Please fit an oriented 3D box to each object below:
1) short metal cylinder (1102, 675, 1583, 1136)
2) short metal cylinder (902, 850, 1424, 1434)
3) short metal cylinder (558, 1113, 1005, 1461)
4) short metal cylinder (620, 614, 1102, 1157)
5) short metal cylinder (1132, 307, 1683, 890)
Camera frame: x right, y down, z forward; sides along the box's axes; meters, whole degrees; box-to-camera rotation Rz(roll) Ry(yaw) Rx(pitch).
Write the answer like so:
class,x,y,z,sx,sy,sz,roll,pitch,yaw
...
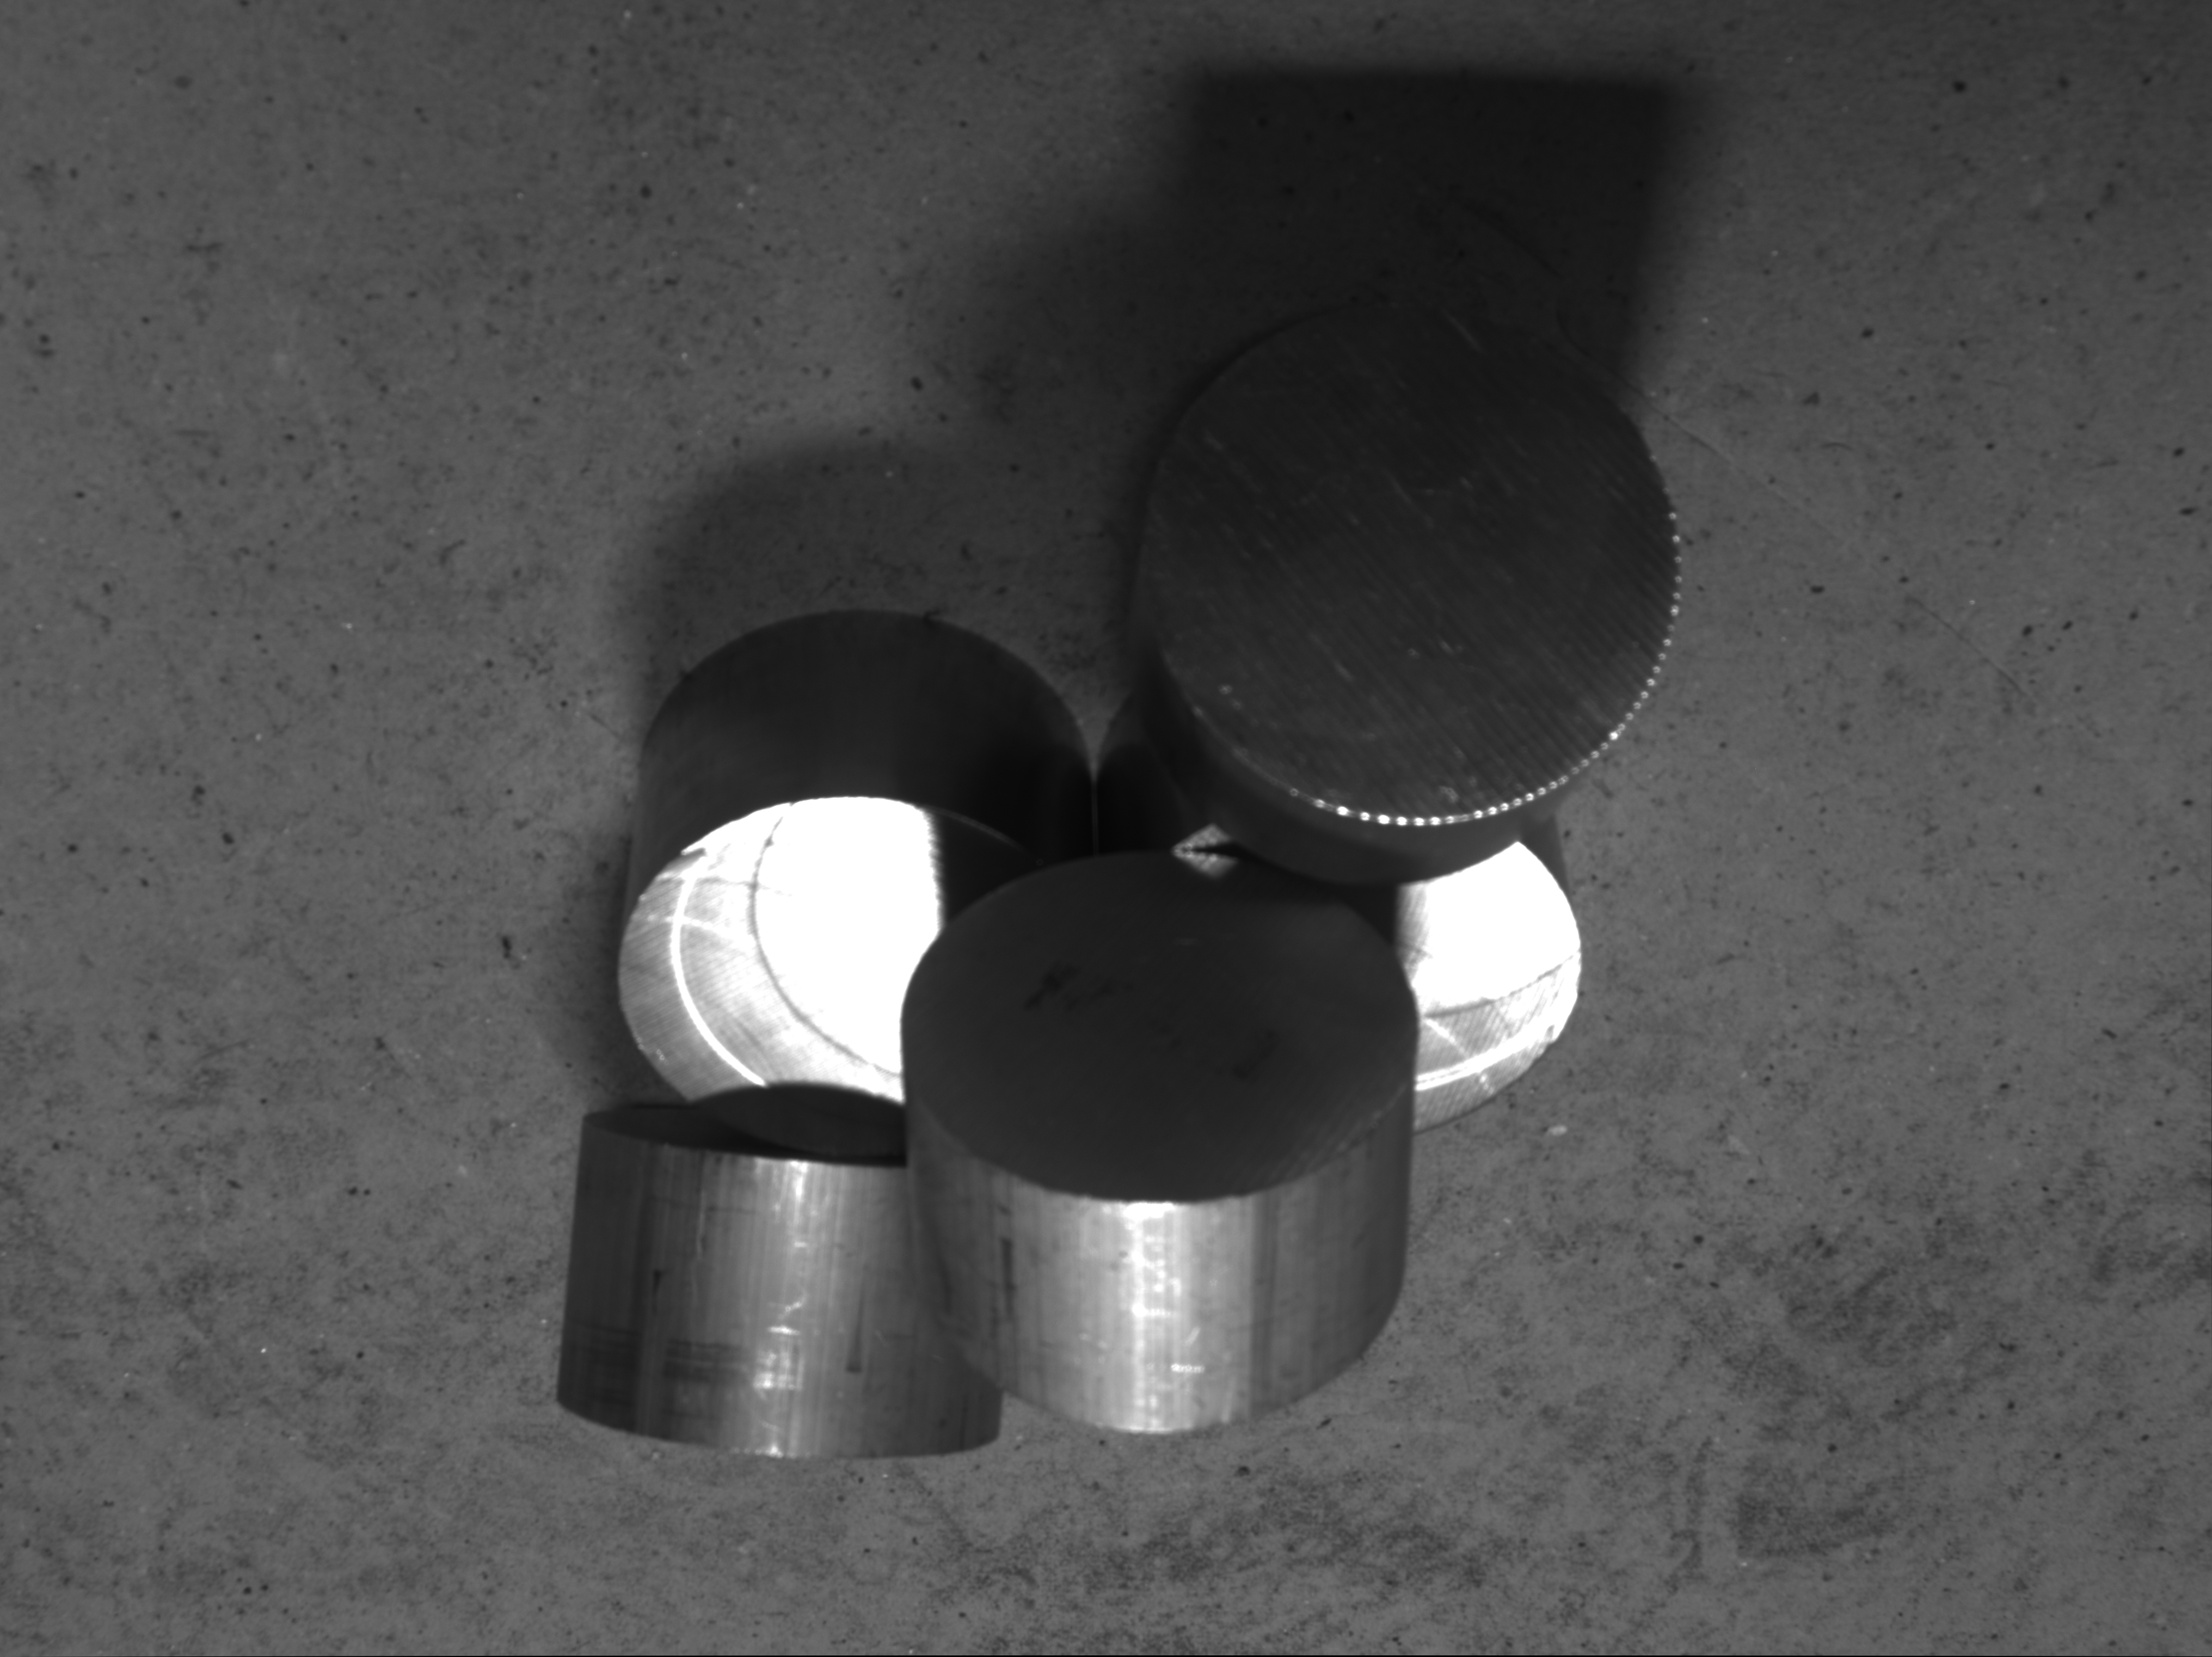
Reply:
class,x,y,z,sx,sy,sz,roll,pitch,yaw
short metal cylinder,0.039,0.009,0.631,0.080,0.050,0.080,-1,130,-1
short metal cylinder,0.009,0.048,0.578,0.080,0.080,0.050,-1,130,-1
short metal cylinder,-0.056,0.081,0.660,0.080,0.080,0.050,6,91,-6
short metal cylinder,-0.041,0.010,0.629,0.080,0.050,0.080,-1,130,-1
short metal cylinder,0.045,-0.034,0.566,0.080,0.080,0.050,0,168,-2
